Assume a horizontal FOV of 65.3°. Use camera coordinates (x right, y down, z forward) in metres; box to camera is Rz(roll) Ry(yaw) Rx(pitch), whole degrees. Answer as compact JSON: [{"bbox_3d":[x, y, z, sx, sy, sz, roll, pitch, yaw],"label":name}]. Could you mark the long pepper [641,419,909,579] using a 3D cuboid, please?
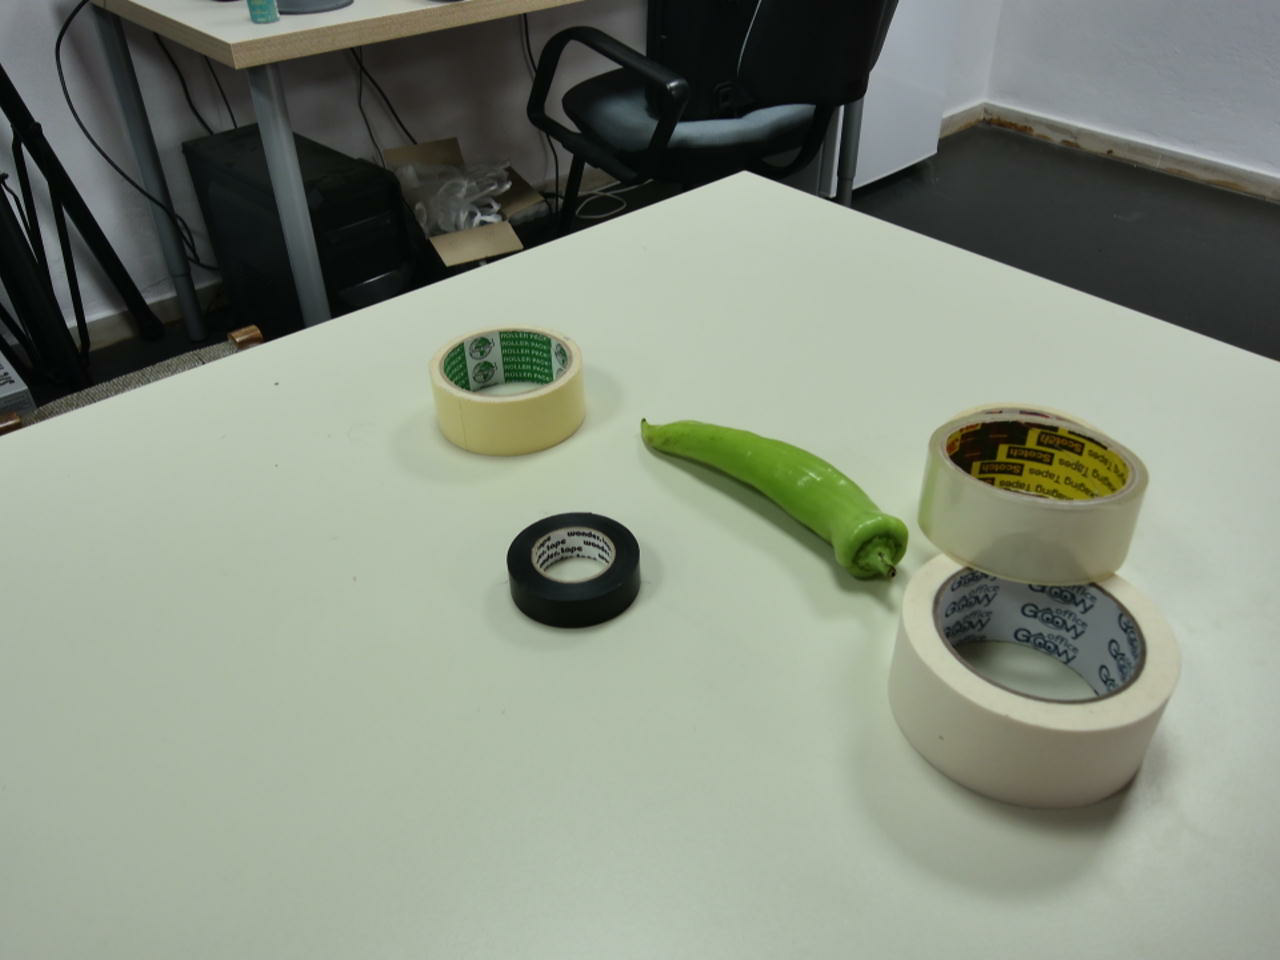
[{"bbox_3d":[0.070,-0.004,0.538,0.046,0.038,0.197,-25,42,-29],"label":"long pepper"}]
